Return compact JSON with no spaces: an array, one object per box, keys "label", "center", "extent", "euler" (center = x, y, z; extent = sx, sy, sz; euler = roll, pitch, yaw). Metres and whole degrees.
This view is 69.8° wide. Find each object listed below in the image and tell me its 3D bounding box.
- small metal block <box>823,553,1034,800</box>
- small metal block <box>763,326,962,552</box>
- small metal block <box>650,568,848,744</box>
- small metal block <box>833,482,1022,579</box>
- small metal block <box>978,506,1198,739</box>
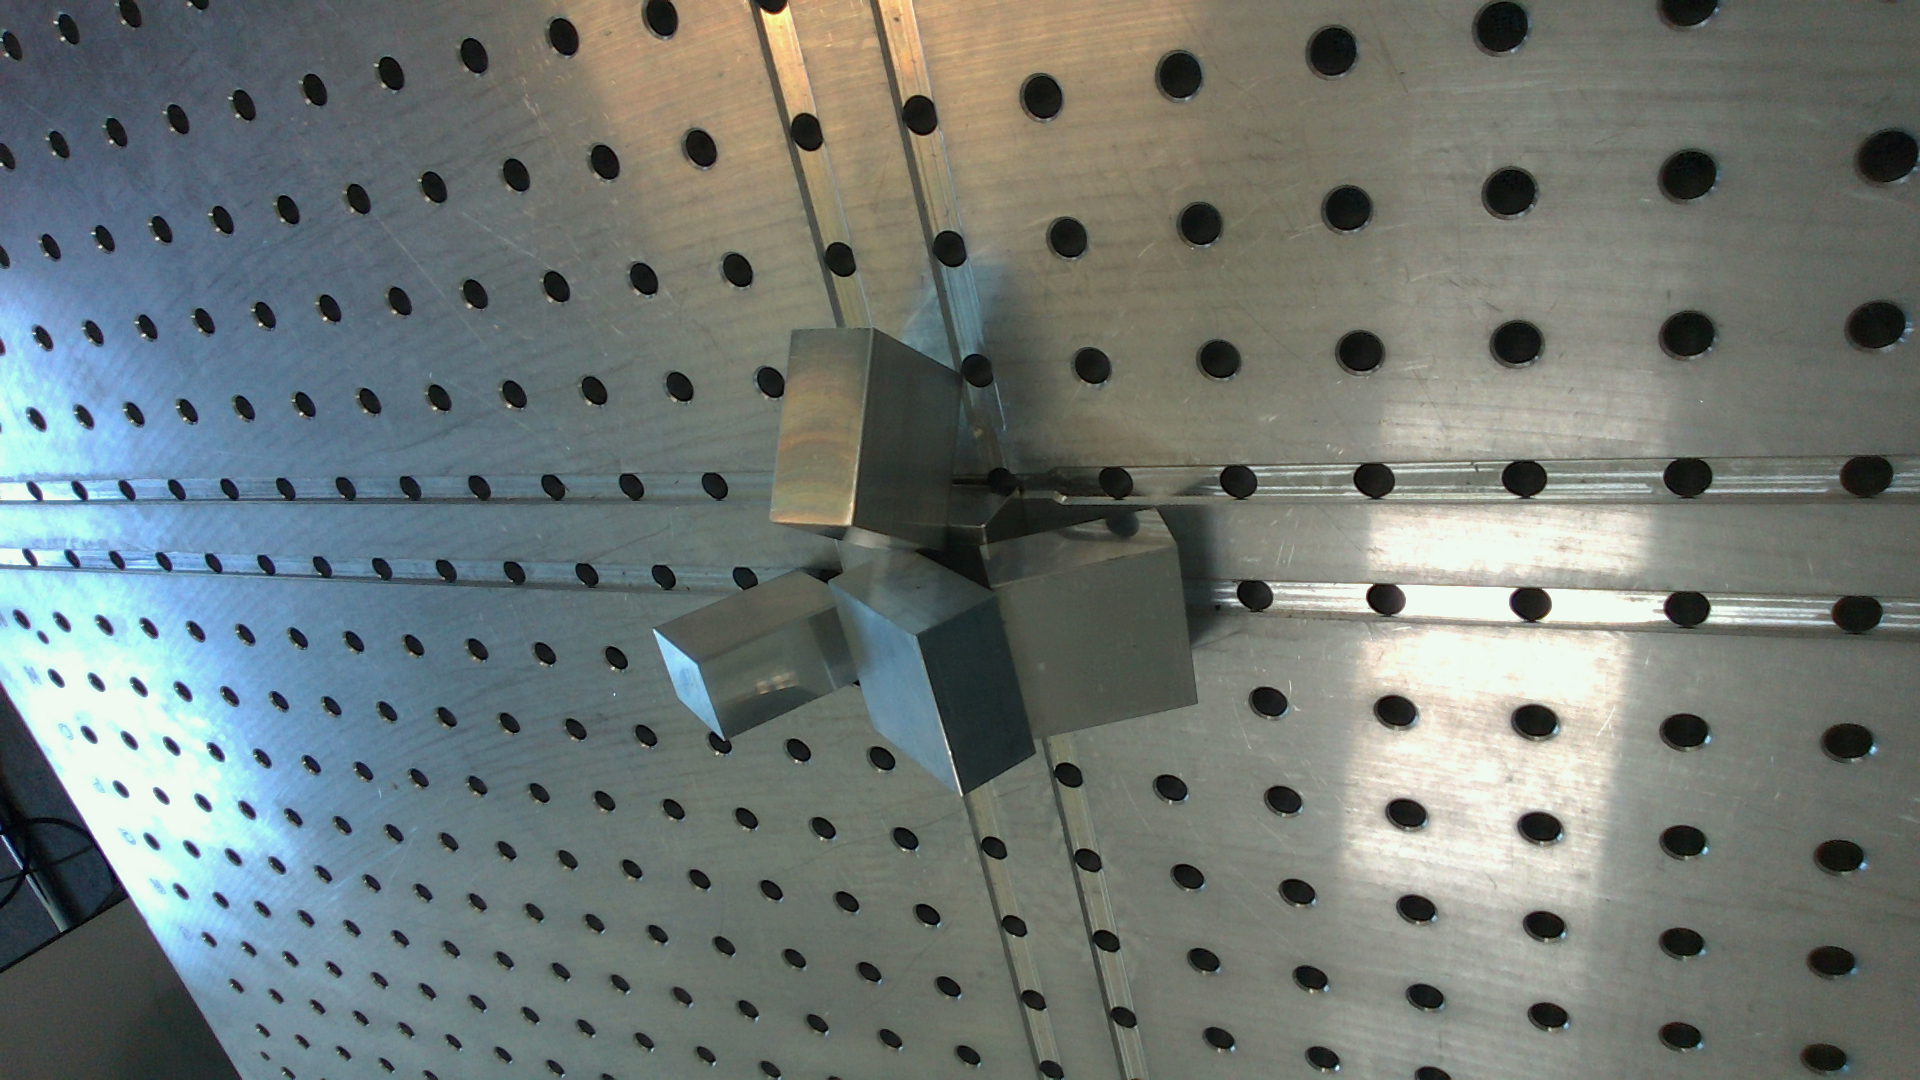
[{"label":"small metal block","center":[-0.009,0.035,0.375],"extent":[0.050,0.025,0.050],"euler":[26,137,55]},{"label":"small metal block","center":[-0.024,-0.025,0.364],"extent":[0.025,0.050,0.050],"euler":[3,84,28]},{"label":"small metal block","center":[-0.061,0.034,0.420],"extent":[0.050,0.050,0.025],"euler":[19,129,62]},{"label":"small metal block","center":[-0.007,0.010,0.406],"extent":[0.050,0.025,0.050],"euler":[2,120,27]},{"label":"small metal block","center":[0.035,0.023,0.377],"extent":[0.050,0.025,0.050],"euler":[-12,116,-1]}]
